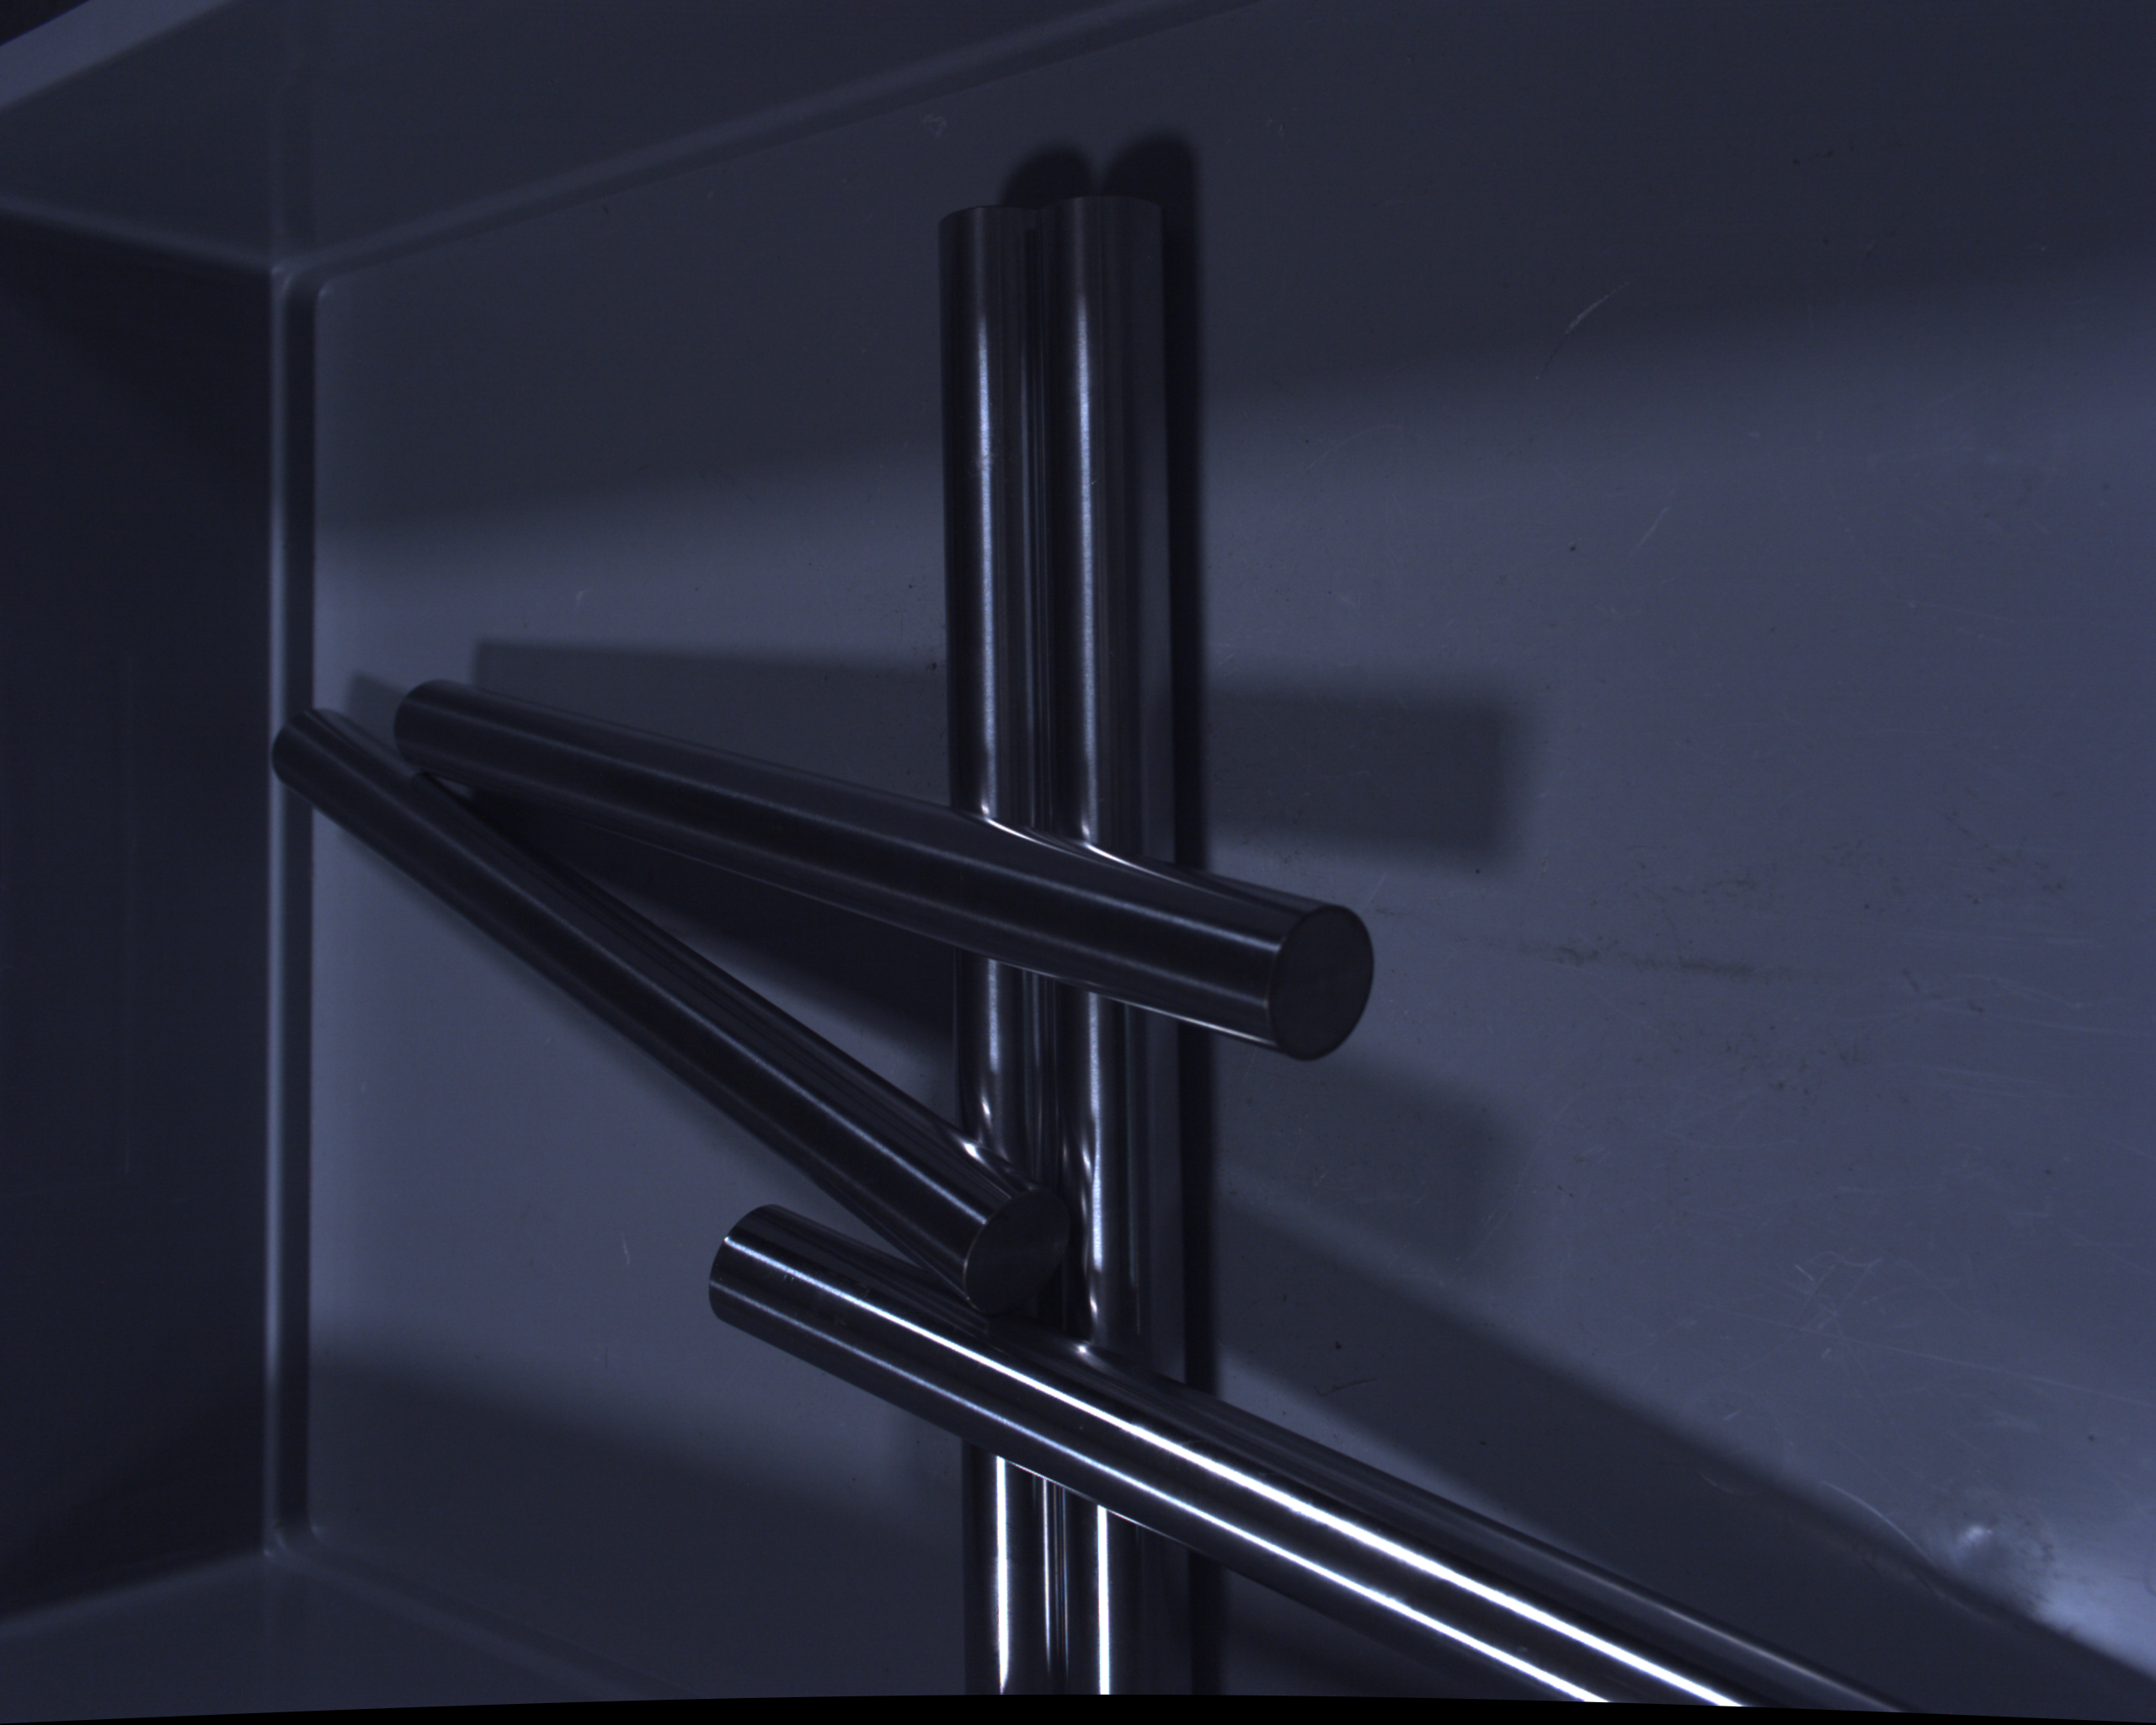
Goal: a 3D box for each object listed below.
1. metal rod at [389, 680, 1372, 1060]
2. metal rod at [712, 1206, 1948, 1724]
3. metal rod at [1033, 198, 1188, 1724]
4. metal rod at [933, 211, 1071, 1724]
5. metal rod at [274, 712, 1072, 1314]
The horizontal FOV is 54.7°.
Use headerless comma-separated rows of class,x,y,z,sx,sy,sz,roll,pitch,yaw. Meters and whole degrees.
metal rod,-0.064,-0.008,0.430,0.300,0.025,0.025,15,99,46
metal rod,0.058,0.116,0.333,0.300,0.025,0.025,16,100,33
metal rod,0.006,0.026,0.396,0.025,0.025,0.298,-1,89,39
metal rod,-0.014,0.023,0.412,0.025,0.025,0.298,-2,89,39
metal rod,-0.110,0.020,0.477,0.300,0.025,0.025,27,107,42
